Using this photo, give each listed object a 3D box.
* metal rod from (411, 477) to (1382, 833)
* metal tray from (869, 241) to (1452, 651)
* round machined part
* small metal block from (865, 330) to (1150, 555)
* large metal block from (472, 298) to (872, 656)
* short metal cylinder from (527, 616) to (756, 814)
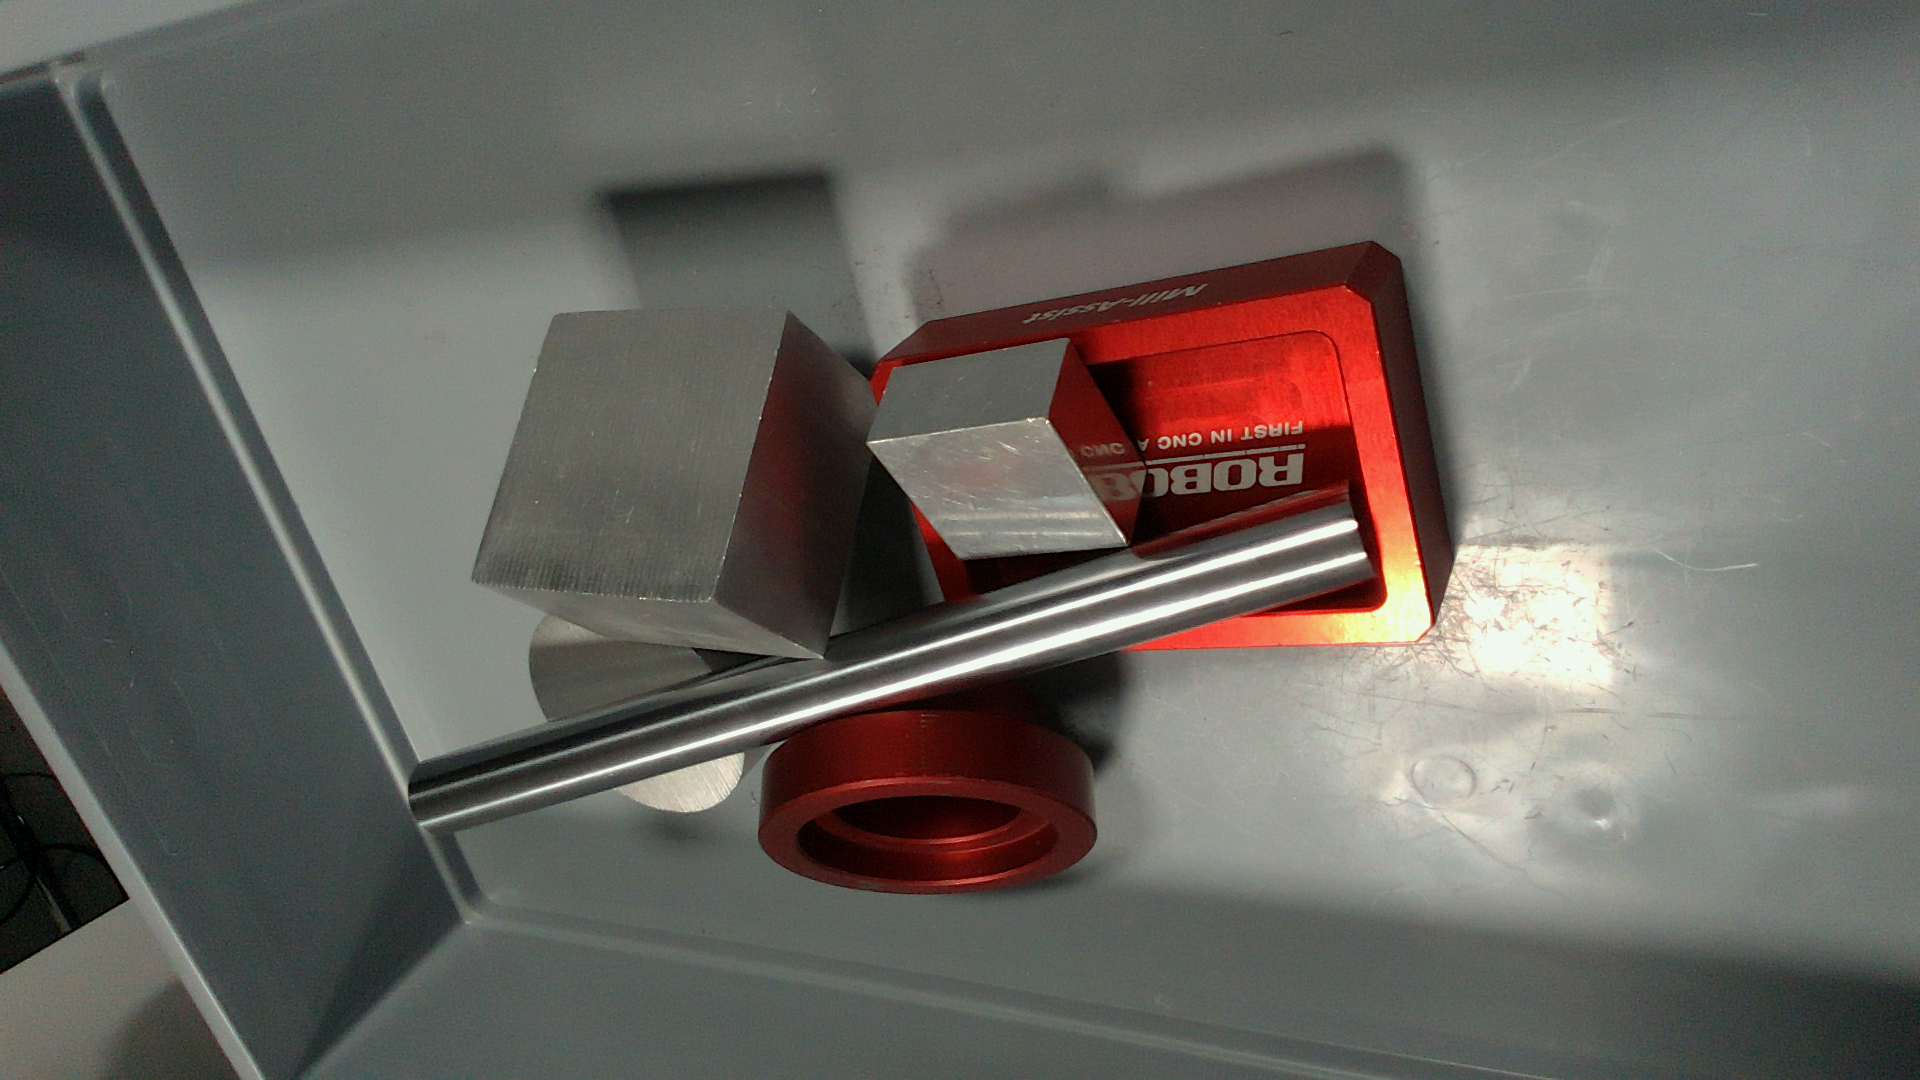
[{"bbox_3d":[-0.035,0.039,0.381,0.299,0.025,0.025,-18,109,24],"label":"metal rod"},{"bbox_3d":[0.050,-0.018,0.350,0.130,0.030,0.090,-5,116,30],"label":"metal tray"},{"bbox_3d":[-0.010,0.070,0.408,0.098,0.042,0.098,0,149,0],"label":"round machined part"},{"bbox_3d":[0.013,-0.022,0.343,0.050,0.025,0.050,-5,142,31],"label":"small metal block"},{"bbox_3d":[-0.075,-0.017,0.376,0.080,0.080,0.050,3,162,28],"label":"large metal block"},{"bbox_3d":[-0.092,0.042,0.450,0.080,0.050,0.080,13,124,21],"label":"short metal cylinder"}]
